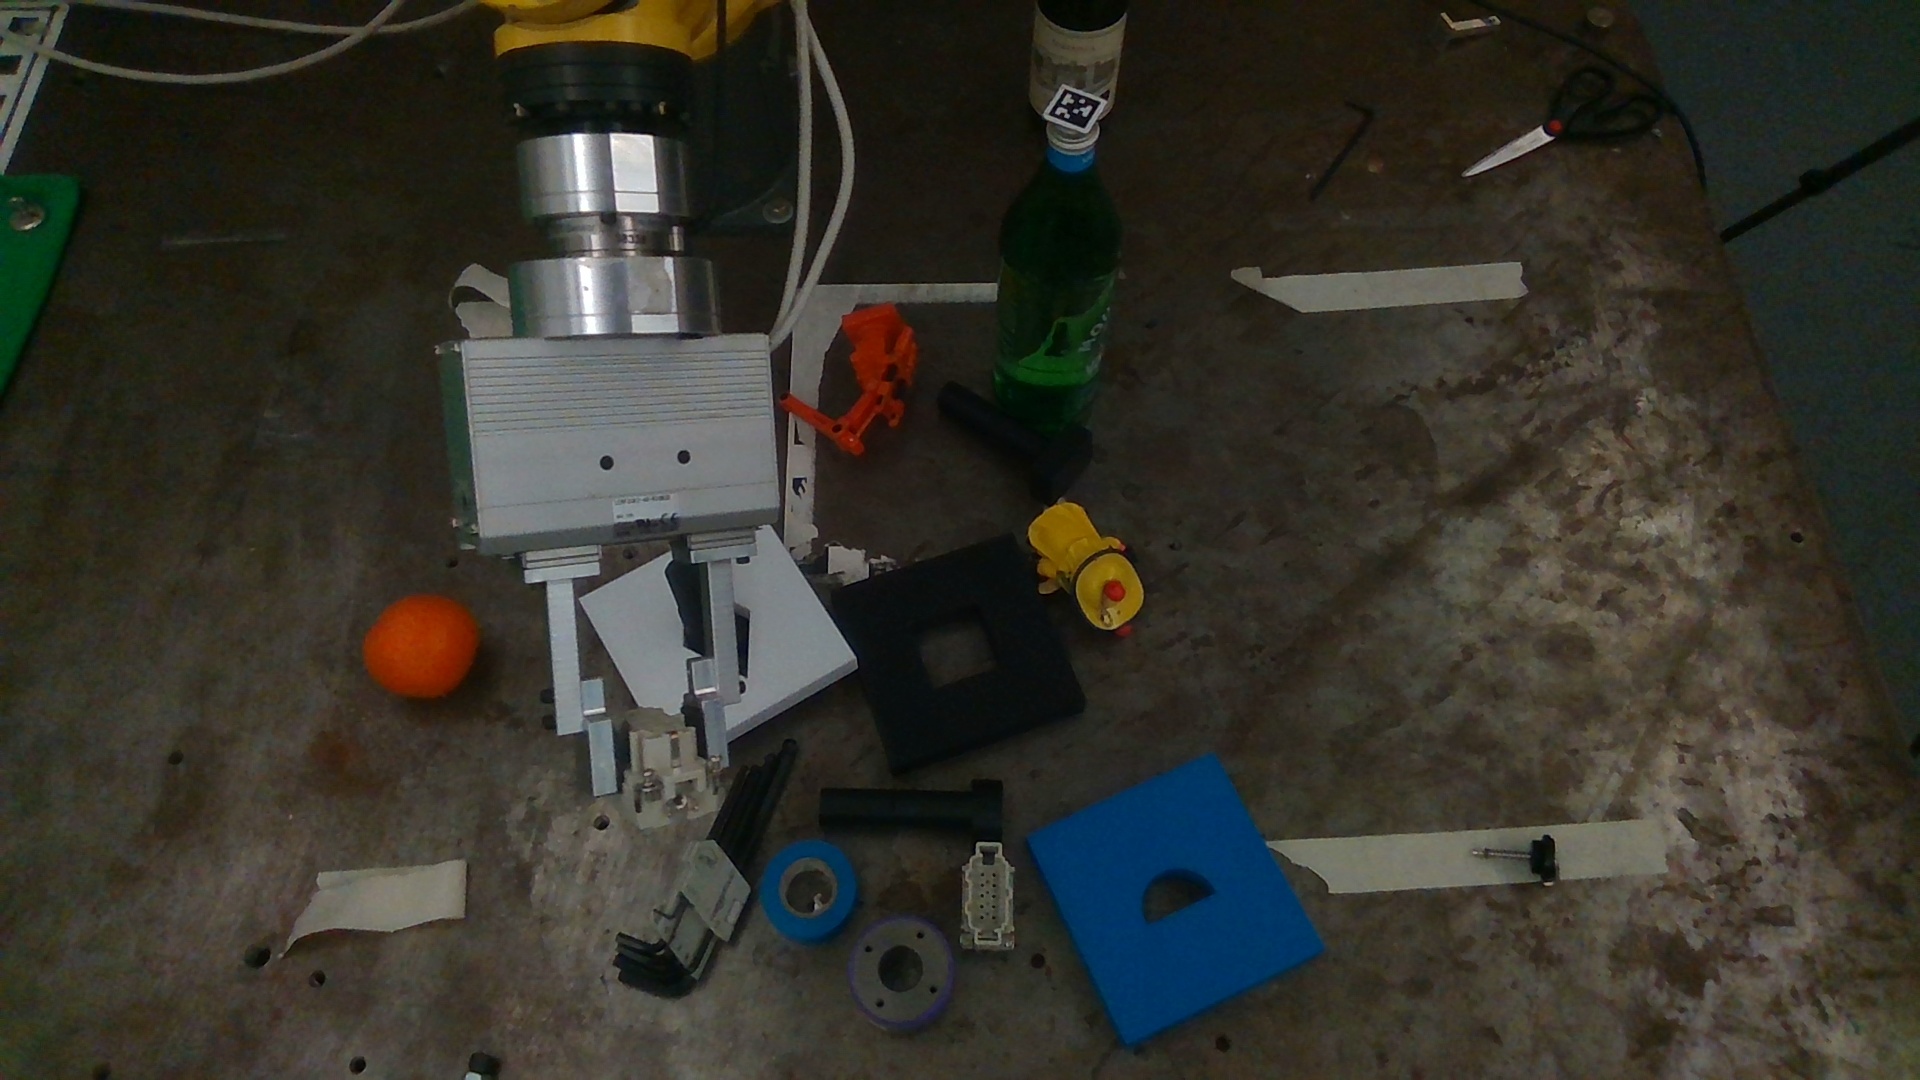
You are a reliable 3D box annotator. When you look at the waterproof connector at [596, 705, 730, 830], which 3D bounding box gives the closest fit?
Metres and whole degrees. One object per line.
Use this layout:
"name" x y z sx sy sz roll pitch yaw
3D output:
"waterproof connector" -0.124 0.092 0.577 0.036 0.069 0.038 -15 103 -31
